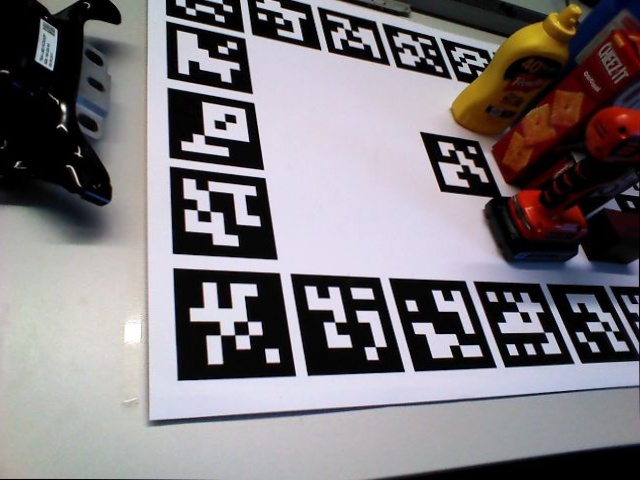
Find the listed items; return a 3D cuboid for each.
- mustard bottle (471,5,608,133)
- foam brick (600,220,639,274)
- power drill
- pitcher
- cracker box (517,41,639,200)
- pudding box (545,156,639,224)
[{"bbox_3d":[0.293,-0.223,0.679,0.096,0.193,0.058,16,56,-16],"label":"mustard bottle"},{"bbox_3d":[0.419,0.011,0.694,0.078,0.052,0.052,6,60,-22],"label":"foam brick"},{"bbox_3d":[0.347,-0.049,0.568,0.184,0.188,0.057,3,56,-24],"label":"power drill"},{"bbox_3d":[0.420,-0.220,0.722,0.188,0.244,0.132,9,57,-18],"label":"pitcher"},{"bbox_3d":[0.389,-0.133,0.660,0.164,0.215,0.071,1,58,-22],"label":"cracker box"},{"bbox_3d":[0.370,-0.064,0.676,0.113,0.090,0.038,3,58,-20],"label":"pudding box"}]
